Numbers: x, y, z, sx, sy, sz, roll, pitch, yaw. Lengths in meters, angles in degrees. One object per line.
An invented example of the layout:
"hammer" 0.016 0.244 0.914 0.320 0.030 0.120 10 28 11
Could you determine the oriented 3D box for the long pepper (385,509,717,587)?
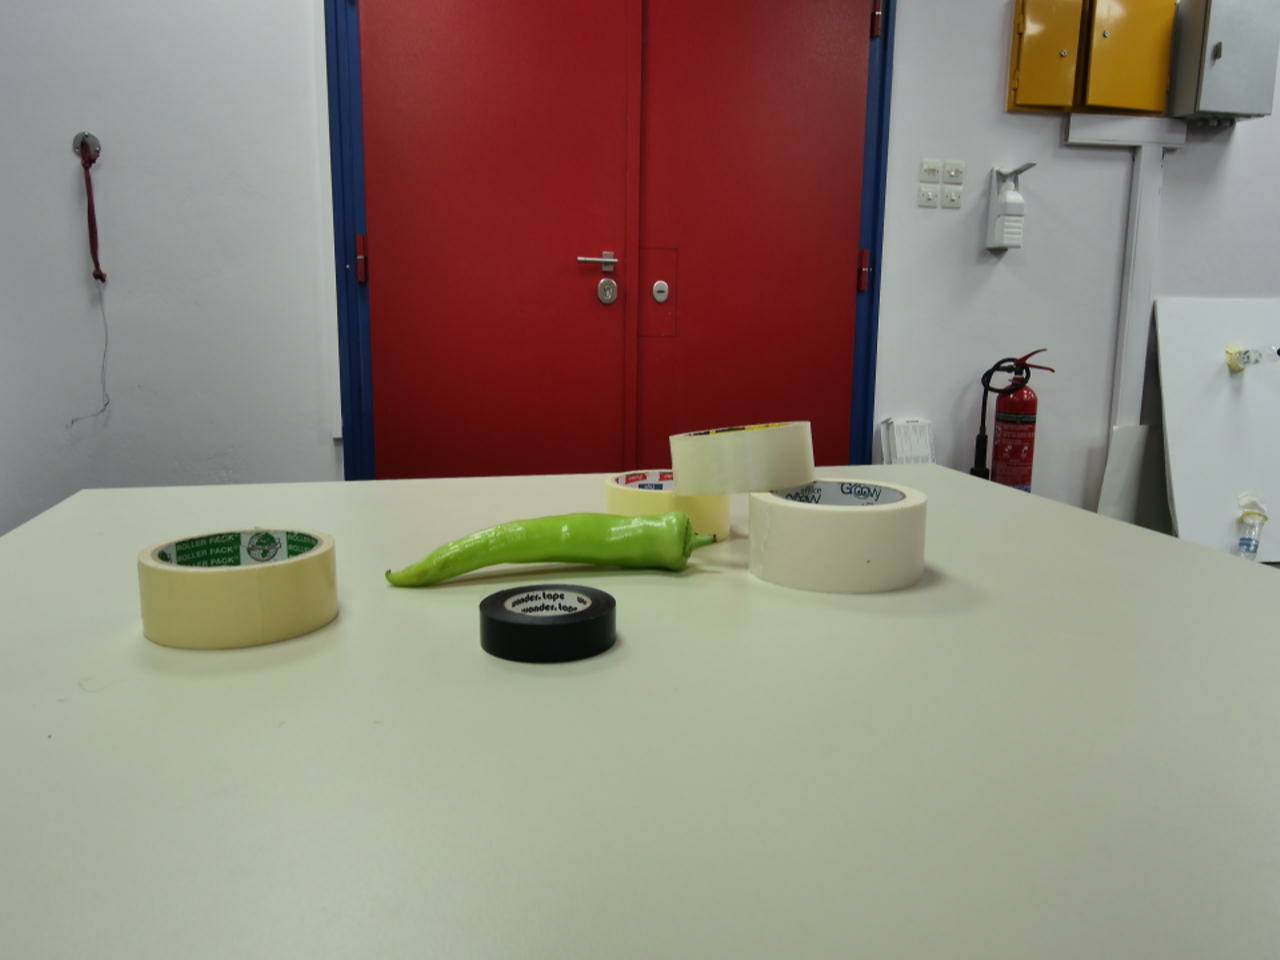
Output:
"long pepper" -0.052 0.038 0.601 0.197 0.038 0.047 -1 8 -11
